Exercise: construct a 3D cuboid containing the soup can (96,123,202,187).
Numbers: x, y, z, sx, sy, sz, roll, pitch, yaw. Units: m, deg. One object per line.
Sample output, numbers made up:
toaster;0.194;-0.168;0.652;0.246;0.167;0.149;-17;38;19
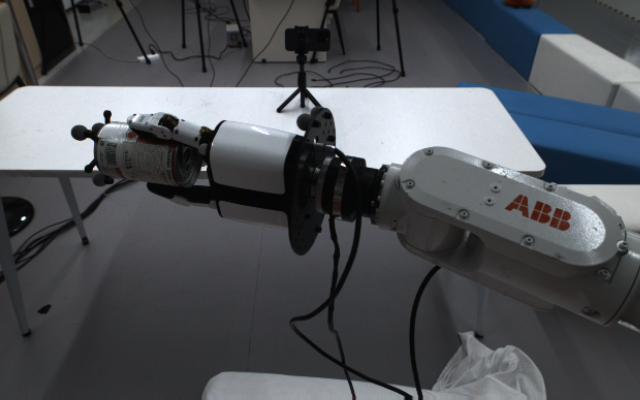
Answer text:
soup can;-0.196;-0.052;0.564;0.101;0.067;0.067;8;35;10
